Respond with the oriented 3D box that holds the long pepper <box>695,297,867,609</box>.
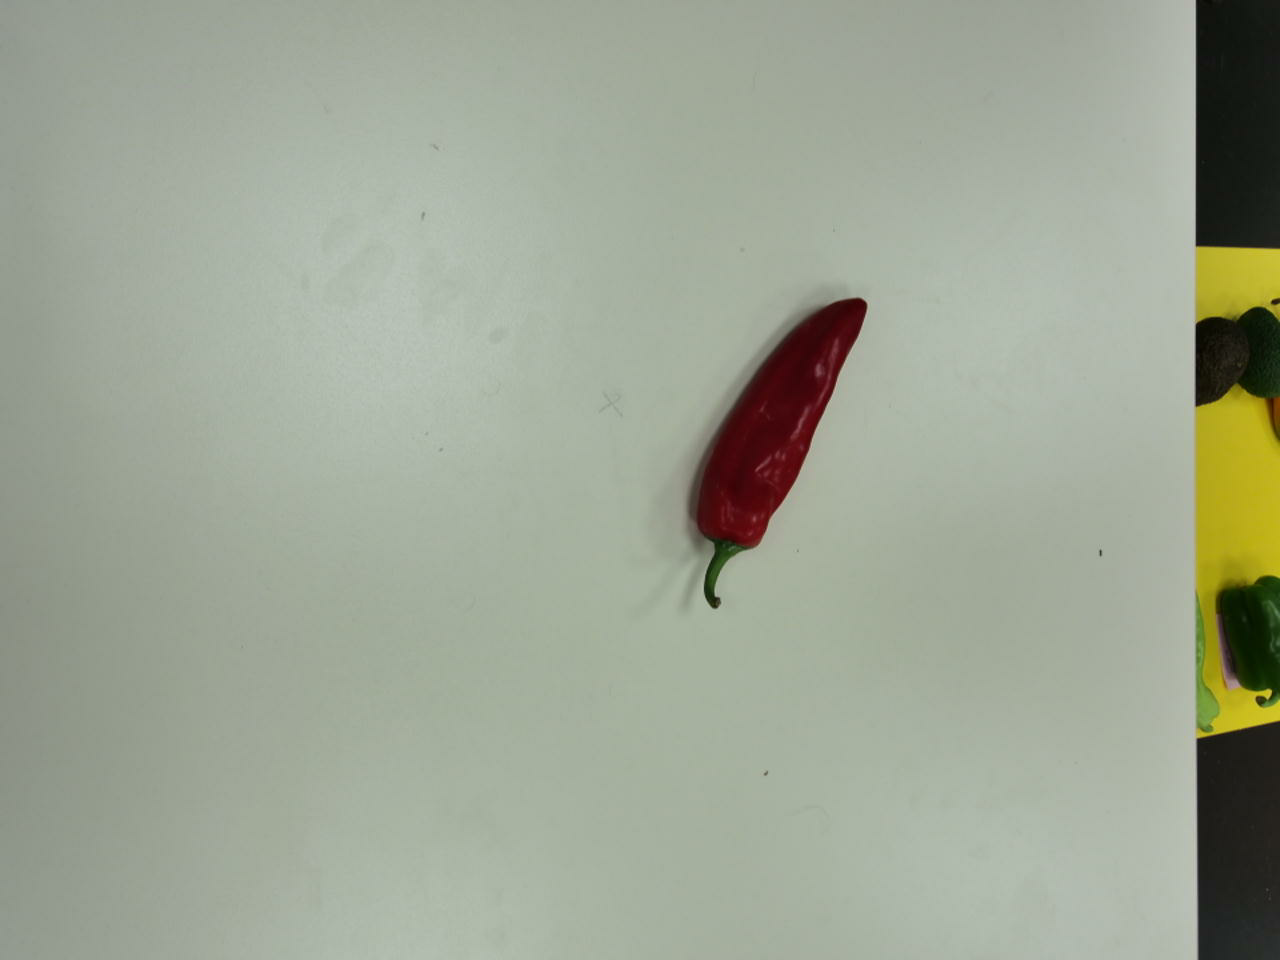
[{"bbox_3d":[0.076,-0.025,0.579,0.050,0.043,0.211,33,78,-19],"label":"long pepper"}]
